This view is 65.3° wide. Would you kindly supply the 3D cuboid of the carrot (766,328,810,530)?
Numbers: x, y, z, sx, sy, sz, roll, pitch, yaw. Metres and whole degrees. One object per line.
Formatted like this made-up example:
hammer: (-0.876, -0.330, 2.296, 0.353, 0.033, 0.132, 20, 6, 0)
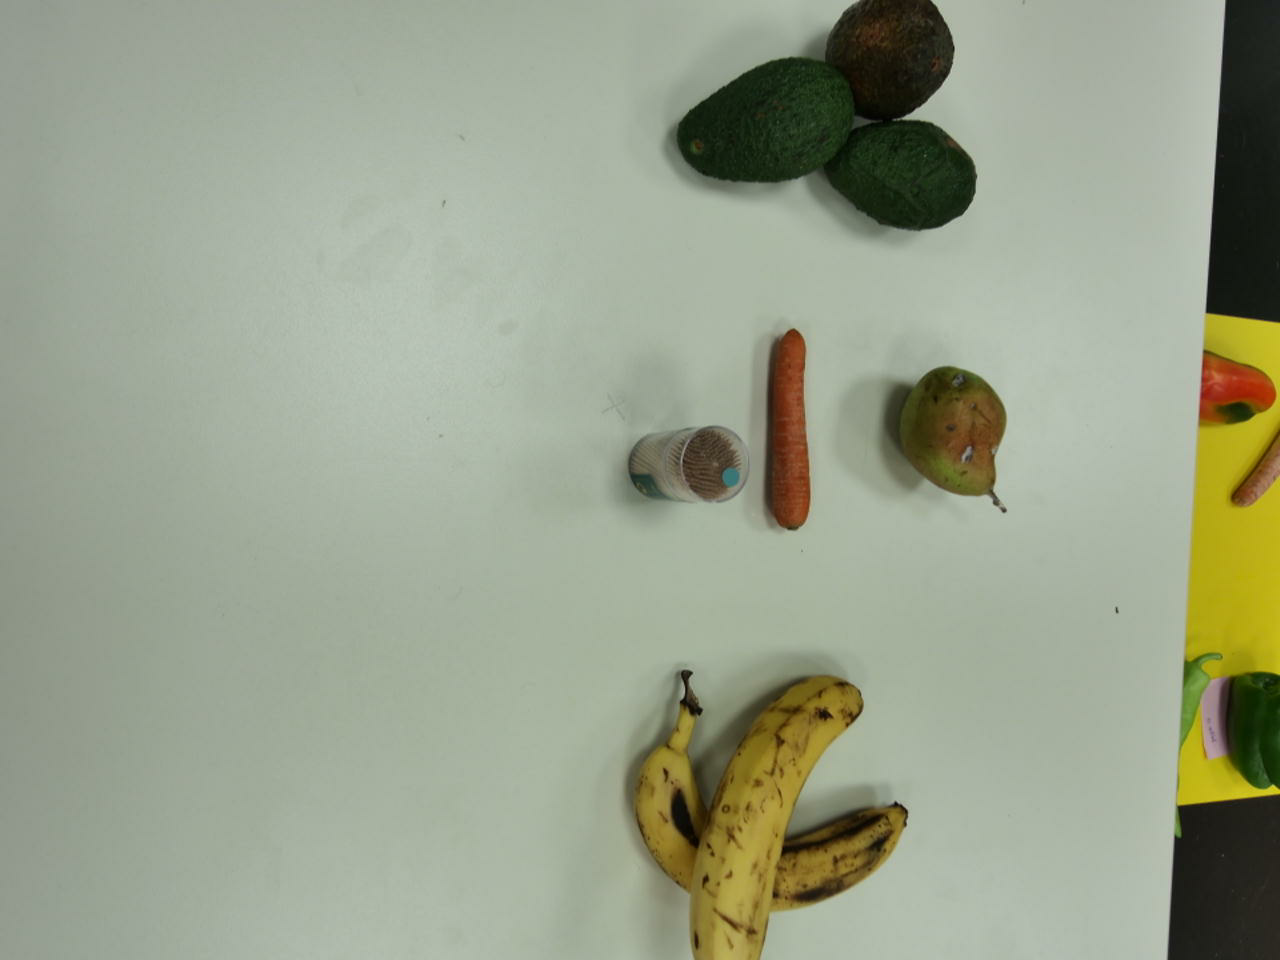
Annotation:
carrot: (0.090, -0.031, 0.598, 0.024, 0.023, 0.122, 2, 90, -22)
